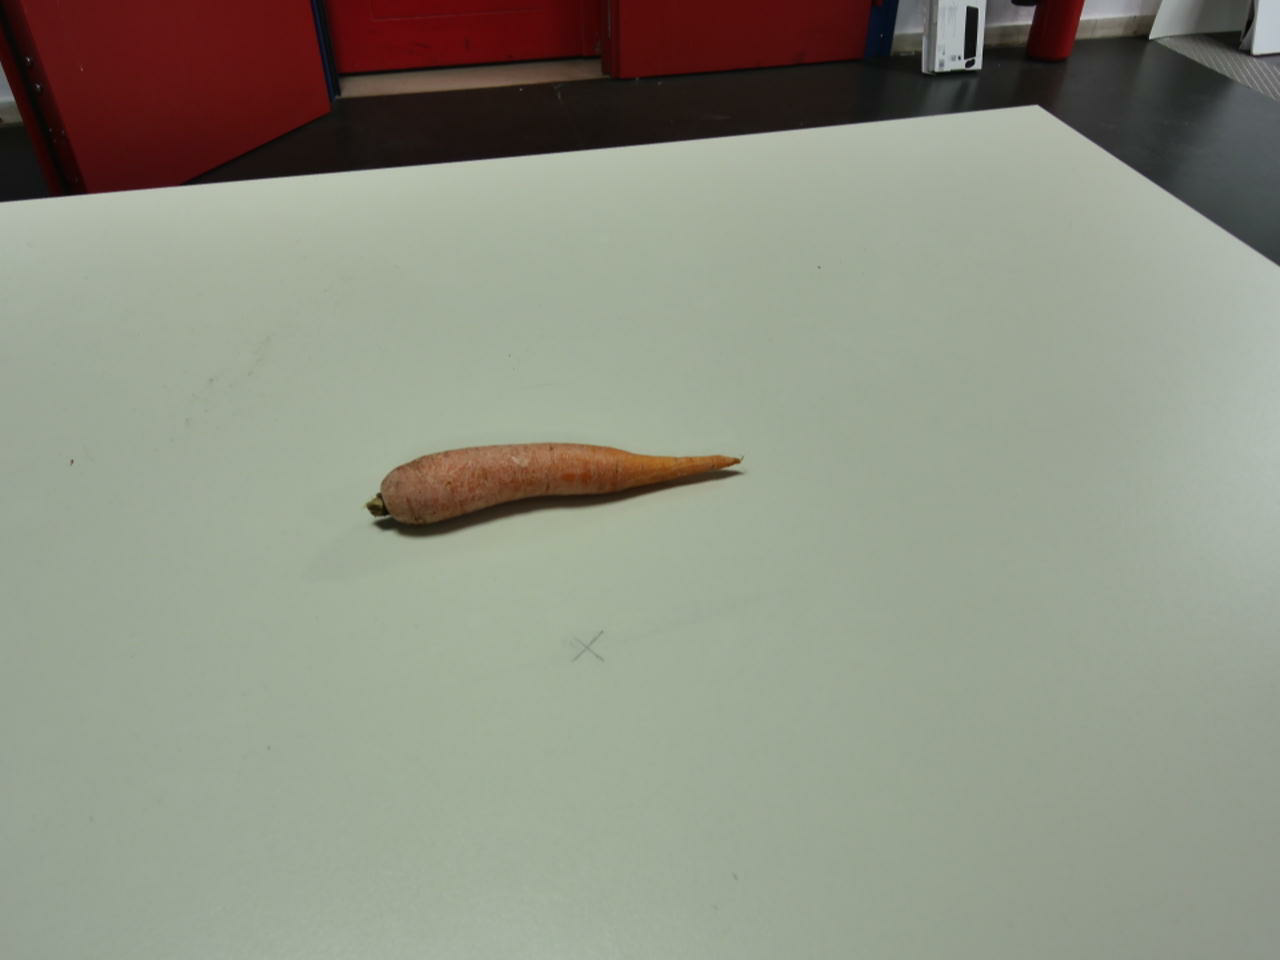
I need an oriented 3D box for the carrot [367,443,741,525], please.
[{"bbox_3d":[-0.037,-0.005,0.437,0.163,0.029,0.031,-8,39,-10],"label":"carrot"}]
